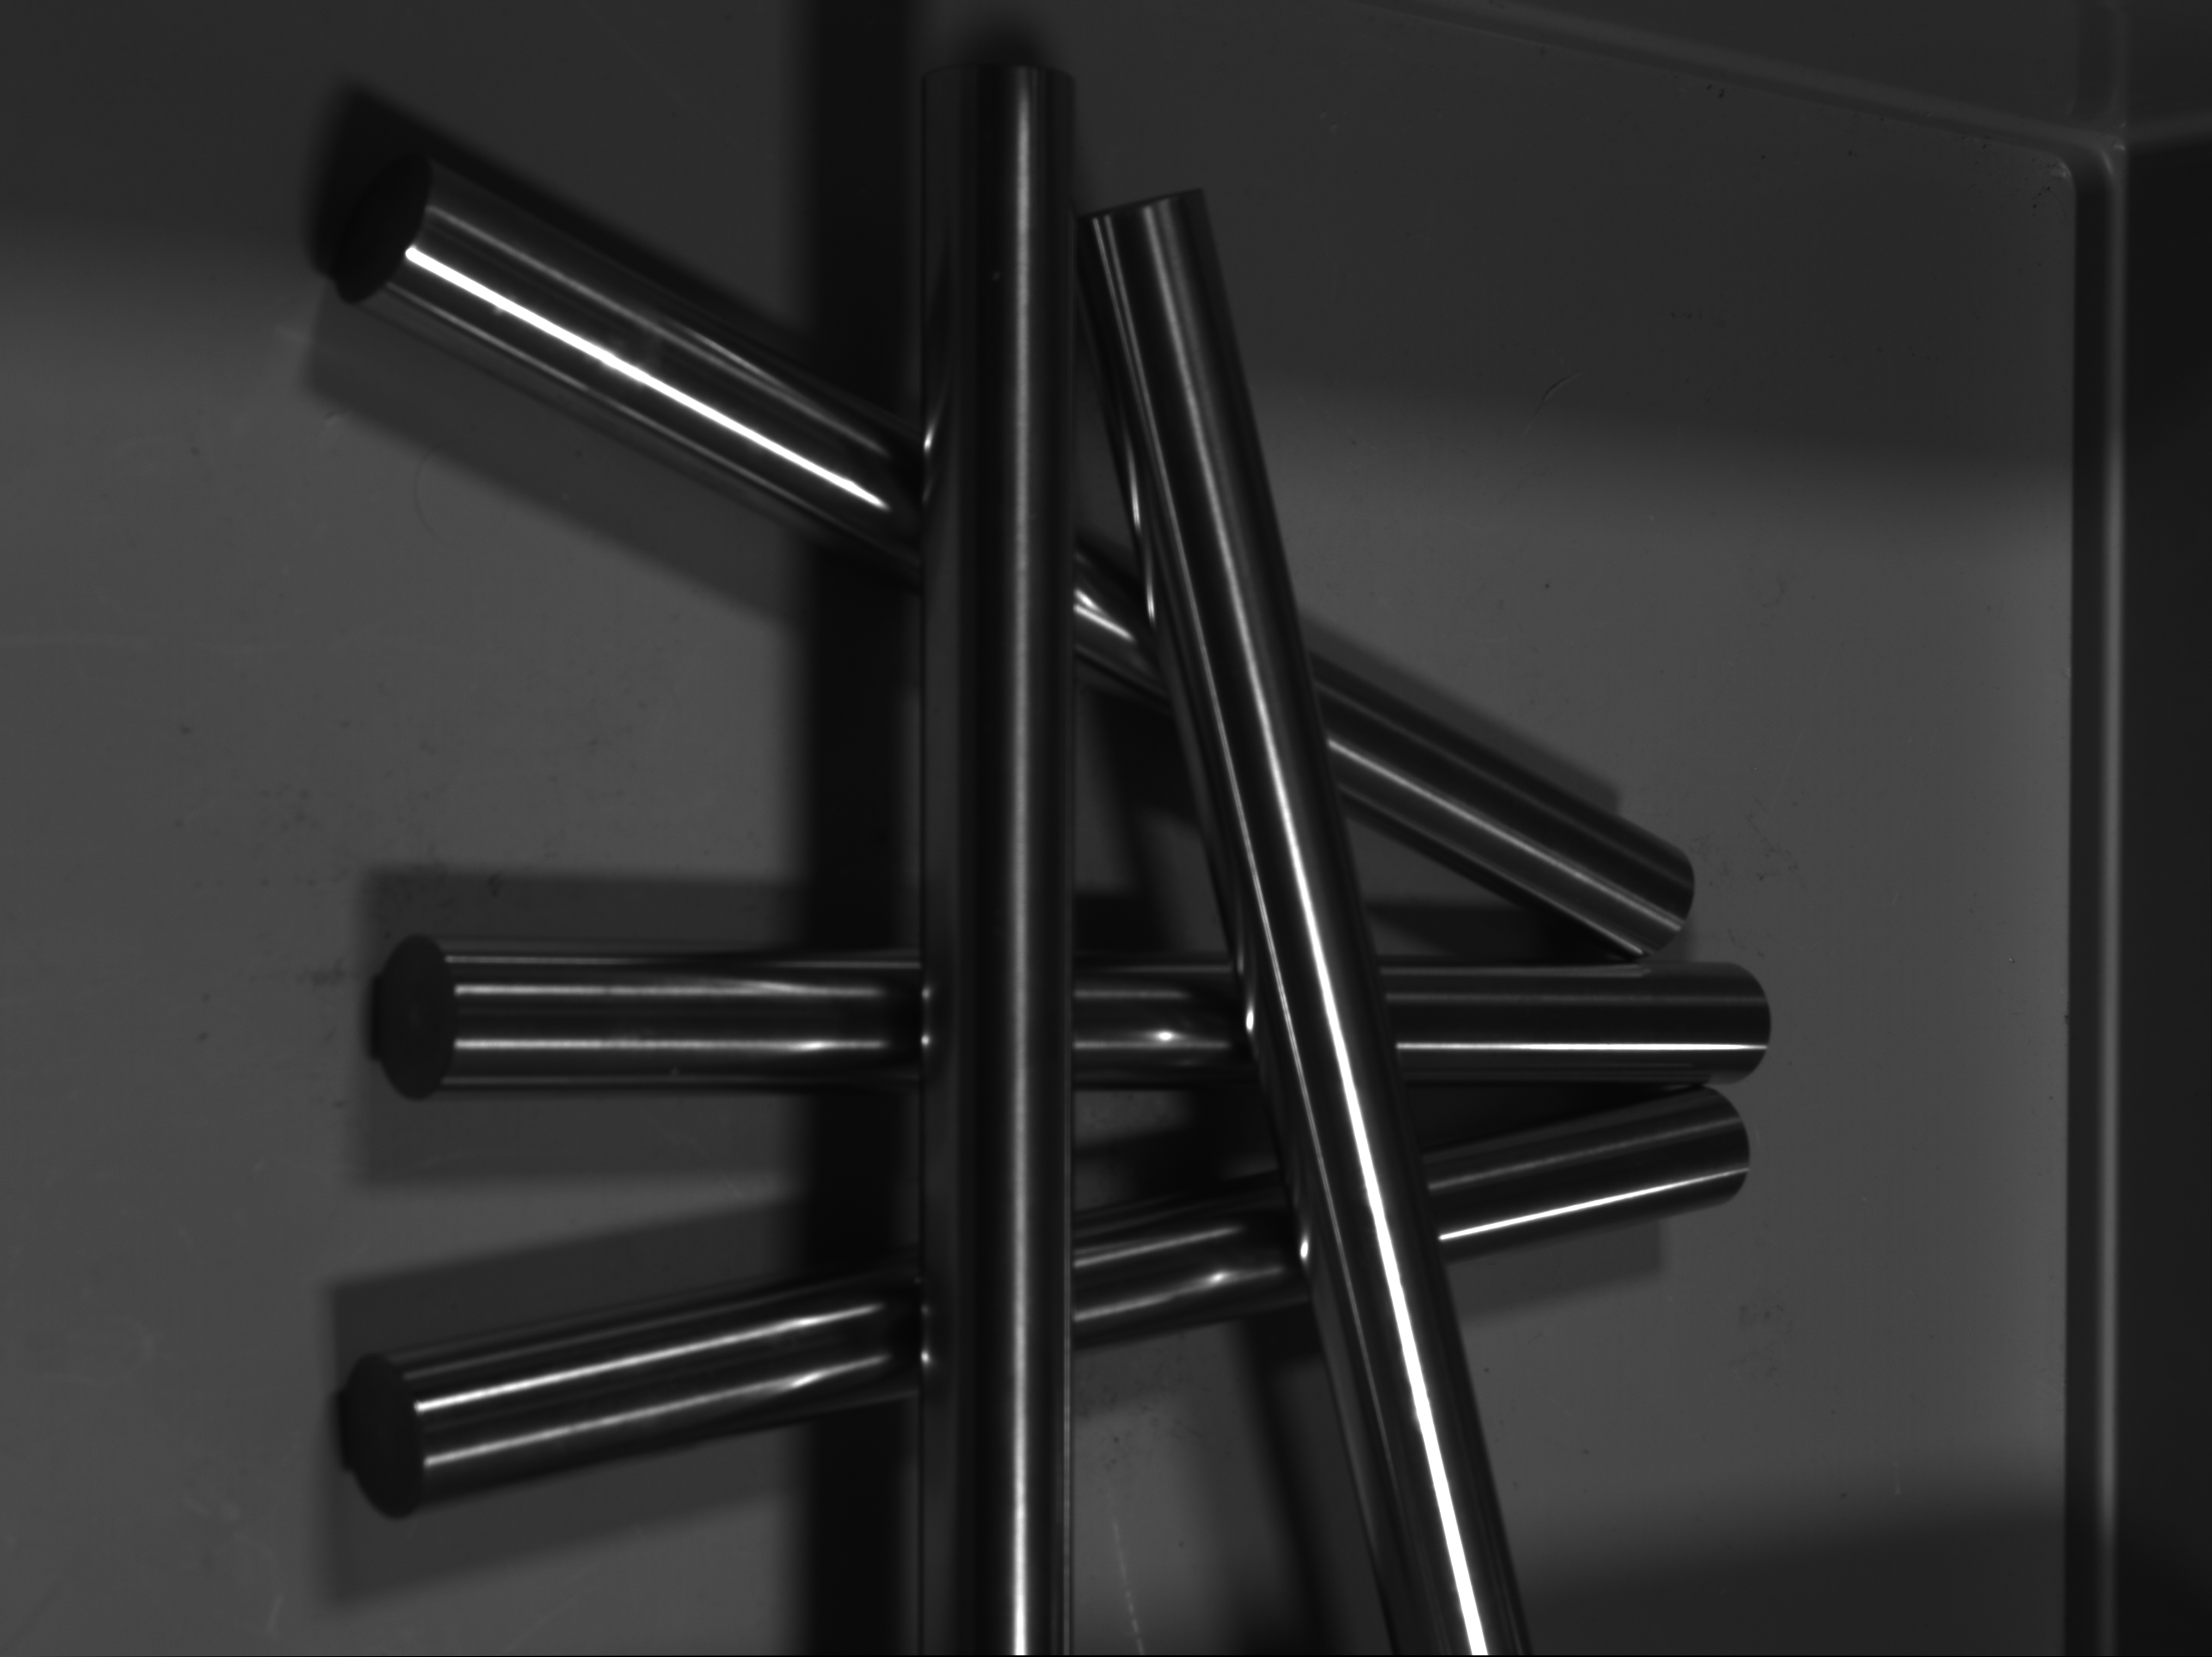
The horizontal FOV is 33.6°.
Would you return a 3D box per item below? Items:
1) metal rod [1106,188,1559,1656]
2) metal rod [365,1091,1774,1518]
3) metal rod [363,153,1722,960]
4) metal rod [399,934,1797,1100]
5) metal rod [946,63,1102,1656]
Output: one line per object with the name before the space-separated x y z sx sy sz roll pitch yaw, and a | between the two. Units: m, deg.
metal rod | 0.043 0.039 0.639 0.025 0.025 0.300 -22 104 -38
metal rod | 0.010 0.078 0.644 0.301 0.025 0.025 -6 94 -40
metal rod | 0.004 -0.038 0.639 0.301 0.025 0.025 26 74 -37
metal rod | 0.015 0.034 0.648 0.301 0.025 0.025 3 88 -40
metal rod | -0.013 0.029 0.591 0.025 0.025 0.300 0 90 -40
